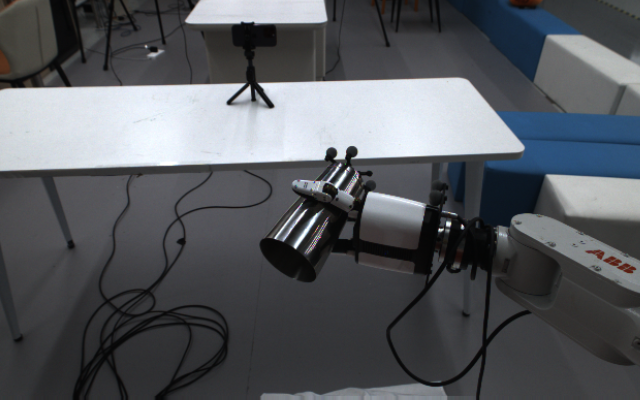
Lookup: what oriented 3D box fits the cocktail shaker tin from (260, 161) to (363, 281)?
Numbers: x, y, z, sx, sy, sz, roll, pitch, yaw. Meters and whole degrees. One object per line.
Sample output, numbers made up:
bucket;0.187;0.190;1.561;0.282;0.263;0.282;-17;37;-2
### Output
cocktail shaker tin;-0.001;0.020;0.701;0.093;0.093;0.170;19;55;23
